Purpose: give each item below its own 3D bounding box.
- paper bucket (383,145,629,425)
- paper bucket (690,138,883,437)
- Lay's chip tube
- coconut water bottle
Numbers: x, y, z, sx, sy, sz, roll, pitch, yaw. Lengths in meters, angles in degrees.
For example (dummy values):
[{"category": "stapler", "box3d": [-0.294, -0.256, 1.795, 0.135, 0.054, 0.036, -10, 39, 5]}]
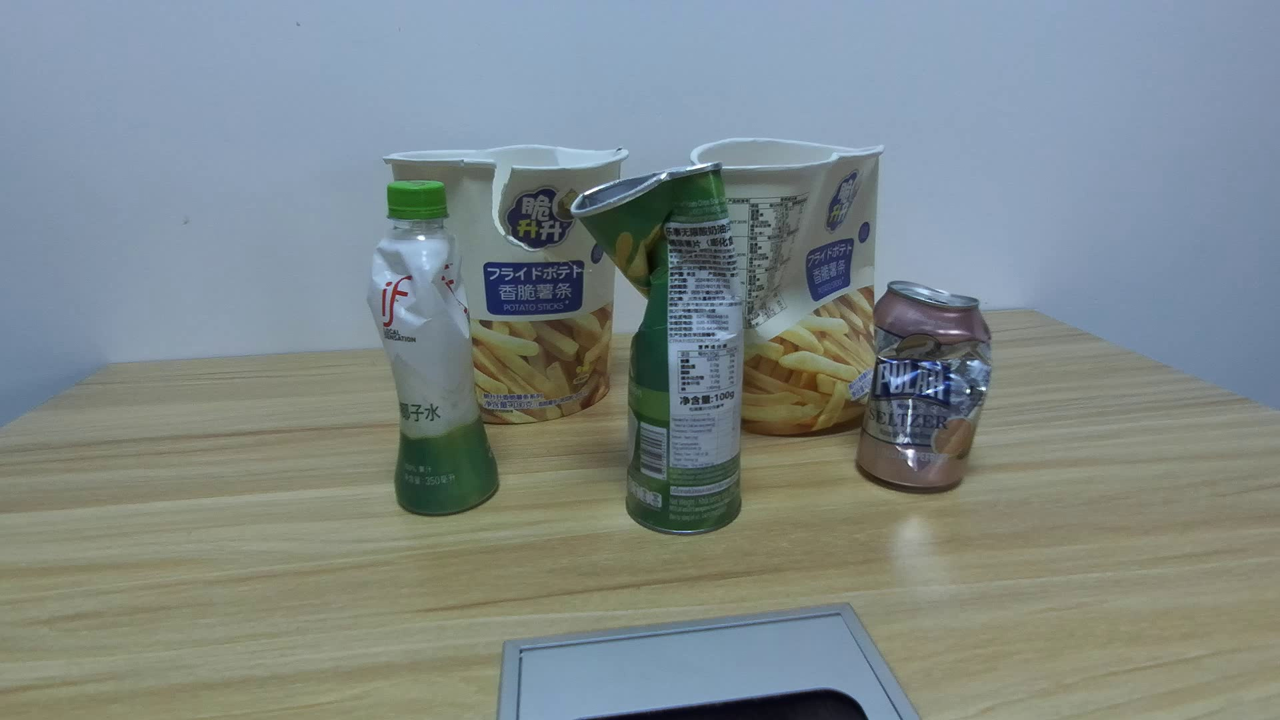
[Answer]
[{"category": "paper bucket", "box3d": [-0.098, -0.067, 0.562, 0.202, 0.197, 0.146, 13, 26, 35]}, {"category": "paper bucket", "box3d": [0.114, -0.062, 0.535, 0.147, 0.199, 0.218, 1, 20, 6]}, {"category": "Lay's chip tube", "box3d": [0.015, -0.003, 0.388, 0.071, 0.199, 0.079, -14, 21, -14]}, {"category": "coconut water bottle", "box3d": [-0.122, -0.006, 0.414, 0.067, 0.187, 0.067, -1, 17, 1]}]
